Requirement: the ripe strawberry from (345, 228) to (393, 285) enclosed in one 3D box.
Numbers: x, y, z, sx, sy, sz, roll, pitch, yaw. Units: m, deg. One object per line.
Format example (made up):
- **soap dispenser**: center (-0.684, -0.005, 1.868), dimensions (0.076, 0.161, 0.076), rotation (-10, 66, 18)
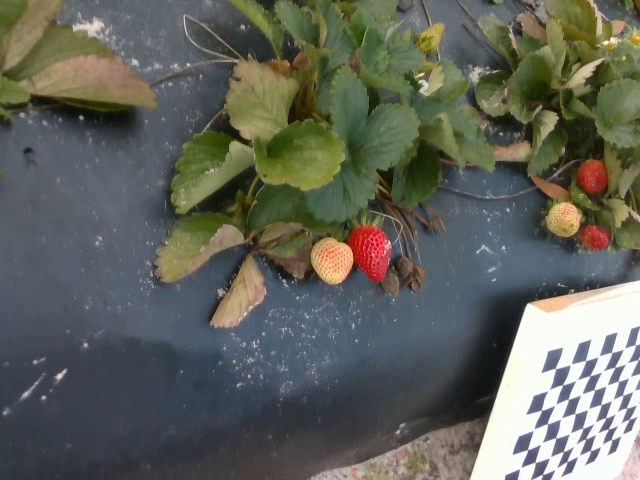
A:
- **ripe strawberry**: center (0.032, 0.010, 0.378), dimensions (0.033, 0.042, 0.034), rotation (-36, -46, 22)
